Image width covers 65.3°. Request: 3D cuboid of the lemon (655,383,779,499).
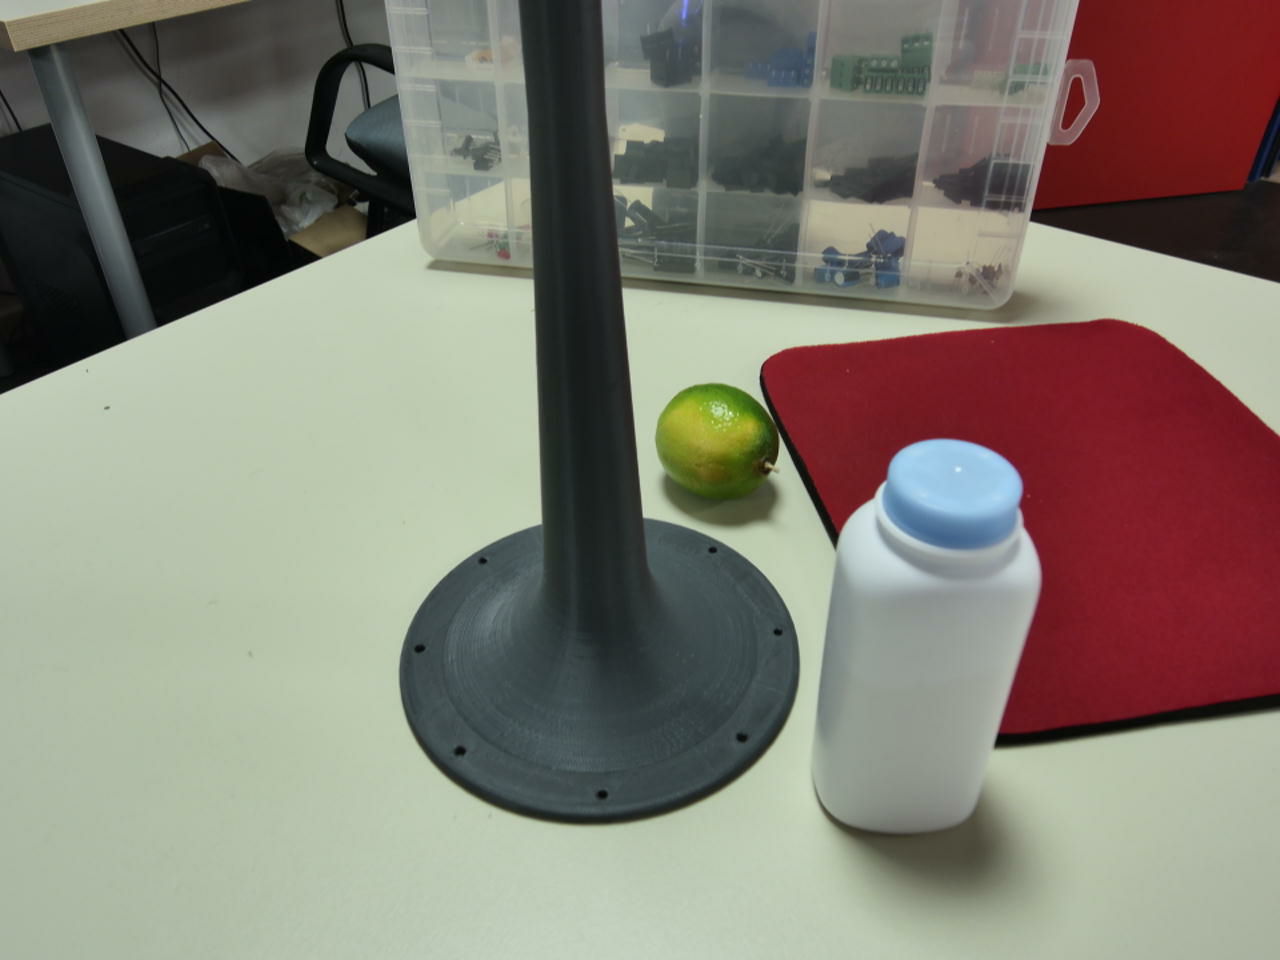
[{"bbox_3d":[0.034,-0.018,0.449,0.054,0.050,0.055,1,36,0],"label":"lemon"}]
